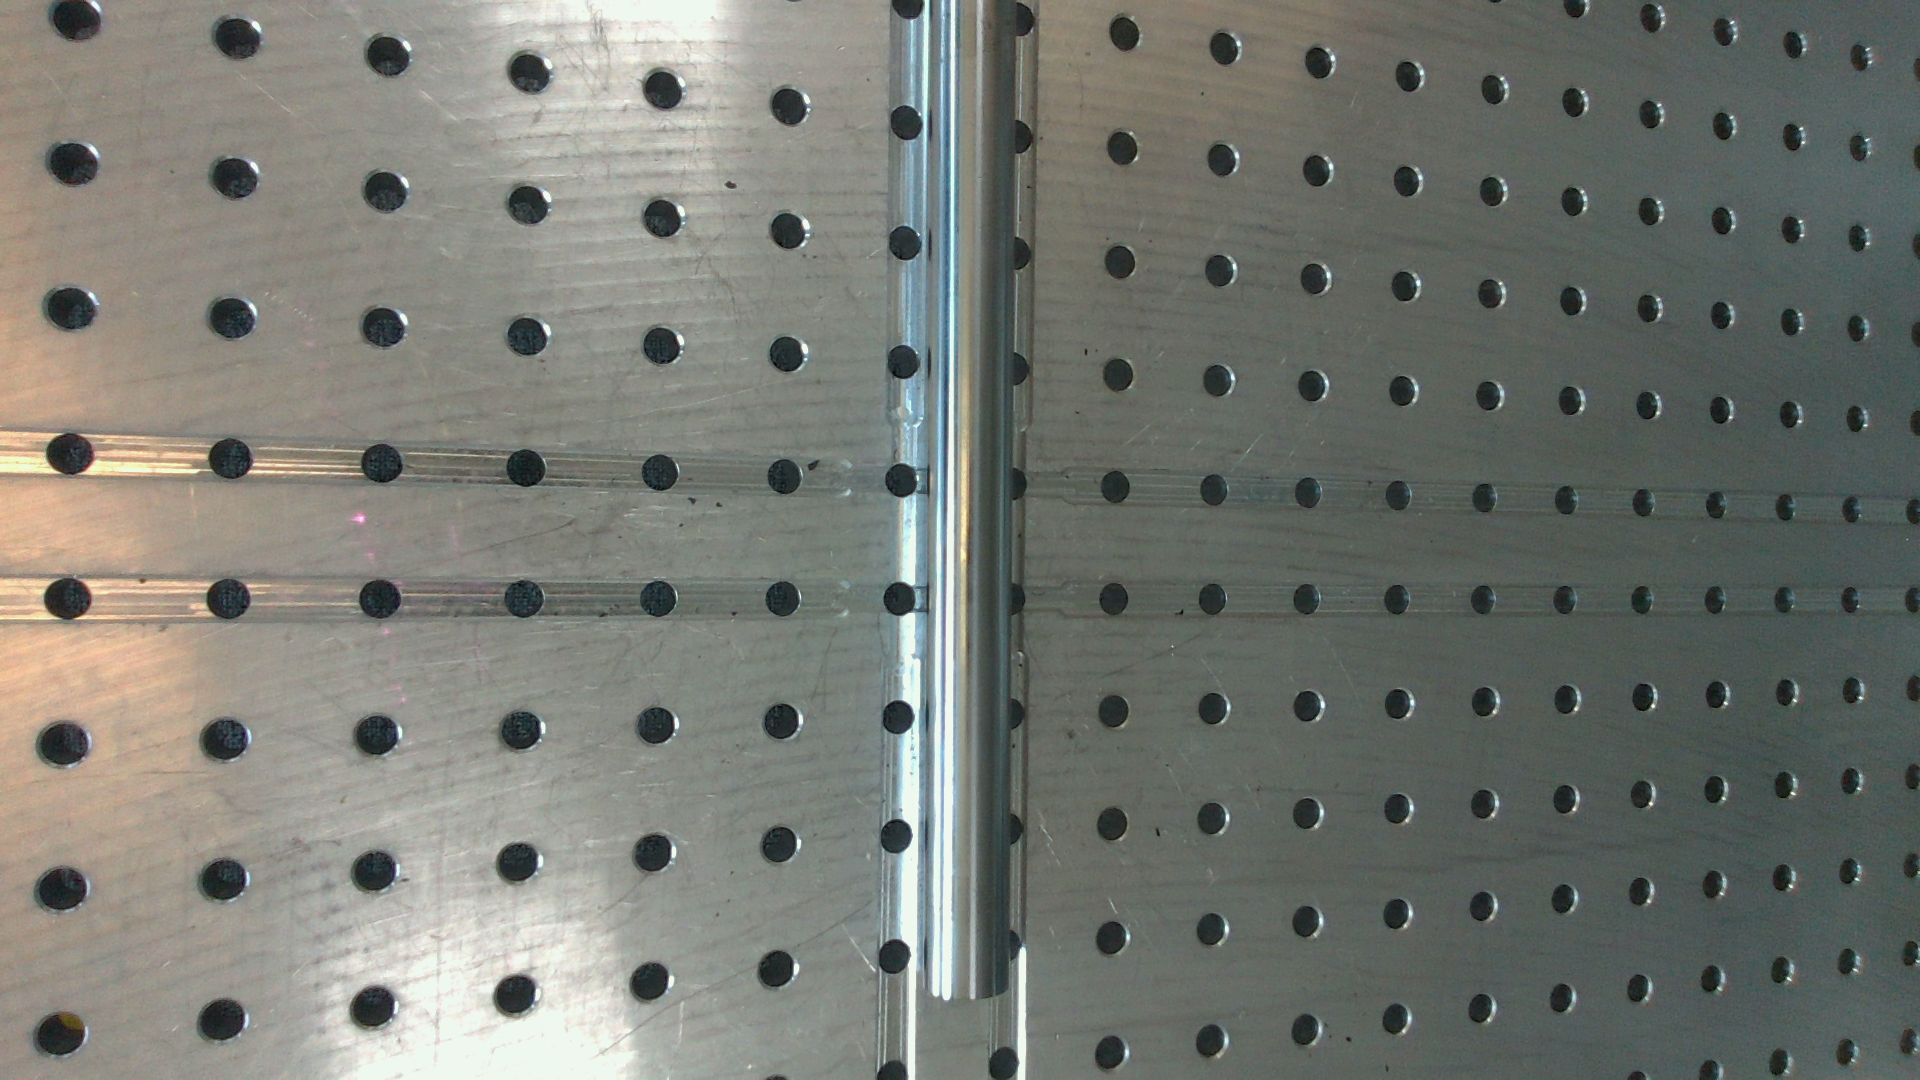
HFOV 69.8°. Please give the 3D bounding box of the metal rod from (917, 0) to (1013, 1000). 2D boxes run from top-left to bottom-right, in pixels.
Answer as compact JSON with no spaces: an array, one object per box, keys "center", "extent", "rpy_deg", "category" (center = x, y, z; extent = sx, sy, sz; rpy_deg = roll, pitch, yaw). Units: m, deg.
[{"center":[0.002,-0.021,0.397],"extent":[0.025,0.025,0.300],"rpy_deg":[1,90,-20],"category":"metal rod"}]
